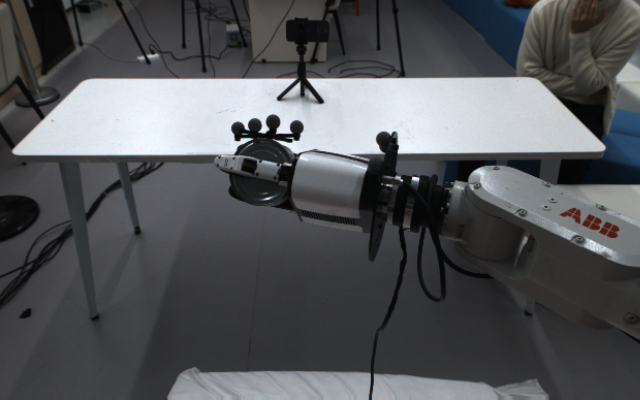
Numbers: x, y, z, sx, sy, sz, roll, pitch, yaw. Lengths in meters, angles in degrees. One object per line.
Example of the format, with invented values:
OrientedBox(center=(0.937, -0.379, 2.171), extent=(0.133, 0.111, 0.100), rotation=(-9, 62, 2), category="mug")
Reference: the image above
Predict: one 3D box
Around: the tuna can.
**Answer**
OrientedBox(center=(-0.069, -0.034, 0.620), extent=(0.085, 0.085, 0.034), rotation=(12, -1, 14), category="tuna can")
